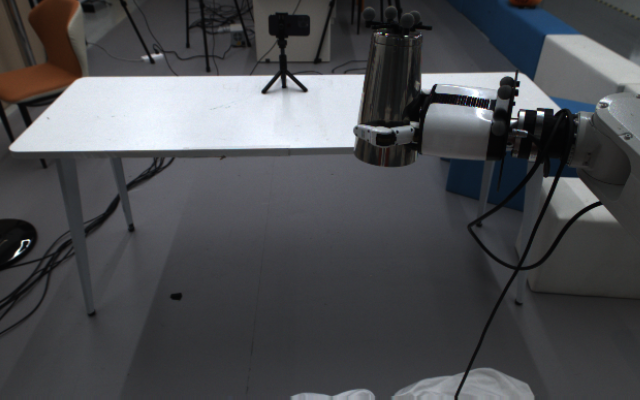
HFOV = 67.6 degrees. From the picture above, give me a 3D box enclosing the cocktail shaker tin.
[{"bbox_3d":[0.099,-0.143,0.665,0.093,0.170,0.093,1,28,-1],"label":"cocktail shaker tin"}]
